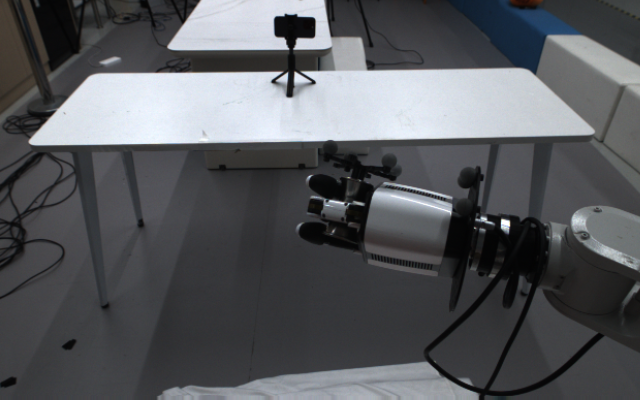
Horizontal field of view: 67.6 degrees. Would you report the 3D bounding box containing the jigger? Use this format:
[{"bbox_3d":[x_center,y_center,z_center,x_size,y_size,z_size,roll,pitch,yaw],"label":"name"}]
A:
[{"bbox_3d":[0.036,0.012,0.552,0.043,0.071,0.043,16,-7,2],"label":"jigger"}]
